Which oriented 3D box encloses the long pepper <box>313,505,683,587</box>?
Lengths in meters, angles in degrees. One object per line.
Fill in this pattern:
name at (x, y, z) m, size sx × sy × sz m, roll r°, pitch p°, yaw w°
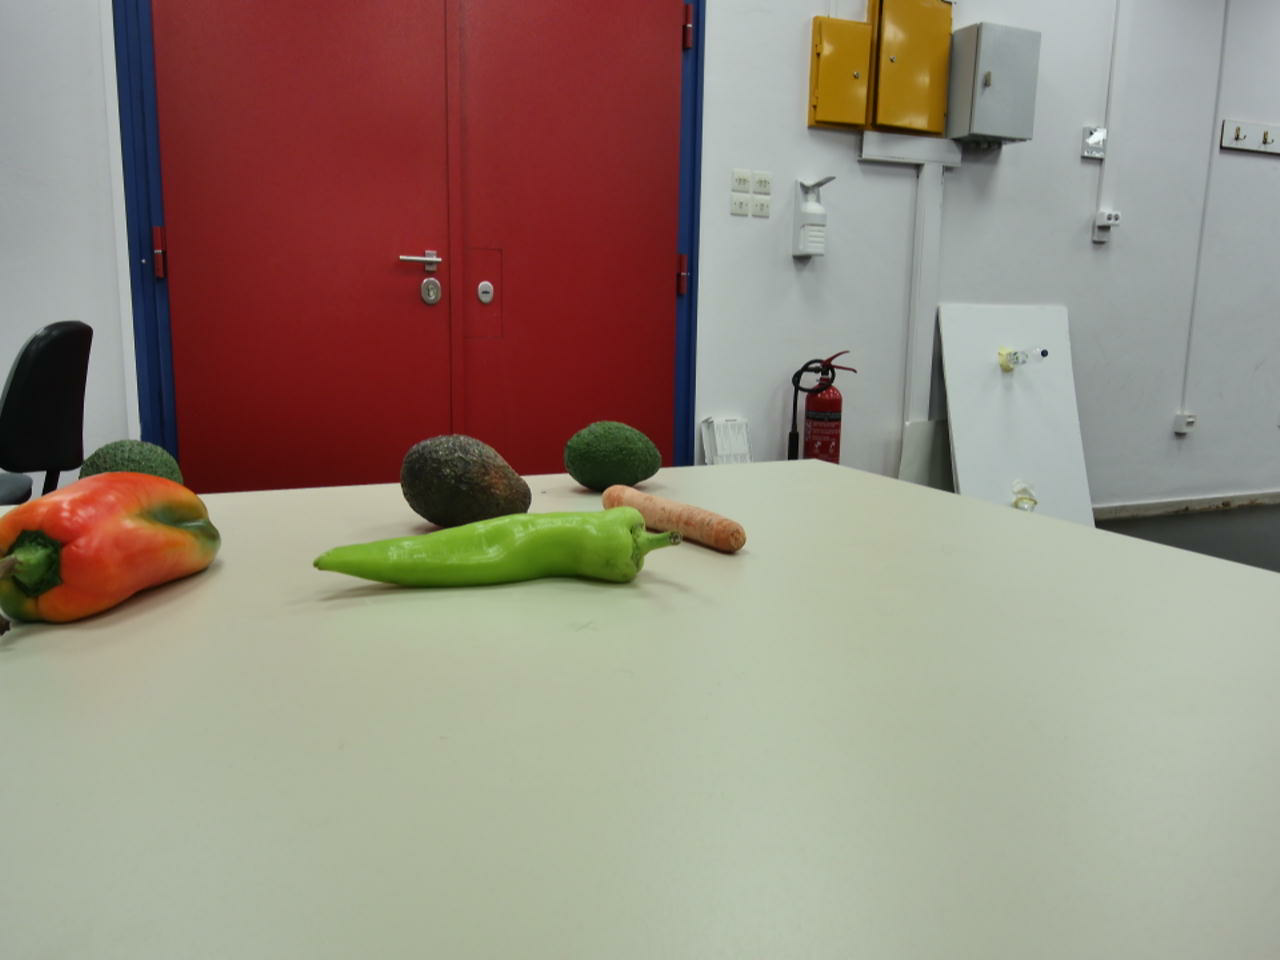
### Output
long pepper at (-0.081, 0.040, 0.589) m, size 0.204 × 0.045 × 0.065 m, roll -1°, pitch 8°, yaw -8°
